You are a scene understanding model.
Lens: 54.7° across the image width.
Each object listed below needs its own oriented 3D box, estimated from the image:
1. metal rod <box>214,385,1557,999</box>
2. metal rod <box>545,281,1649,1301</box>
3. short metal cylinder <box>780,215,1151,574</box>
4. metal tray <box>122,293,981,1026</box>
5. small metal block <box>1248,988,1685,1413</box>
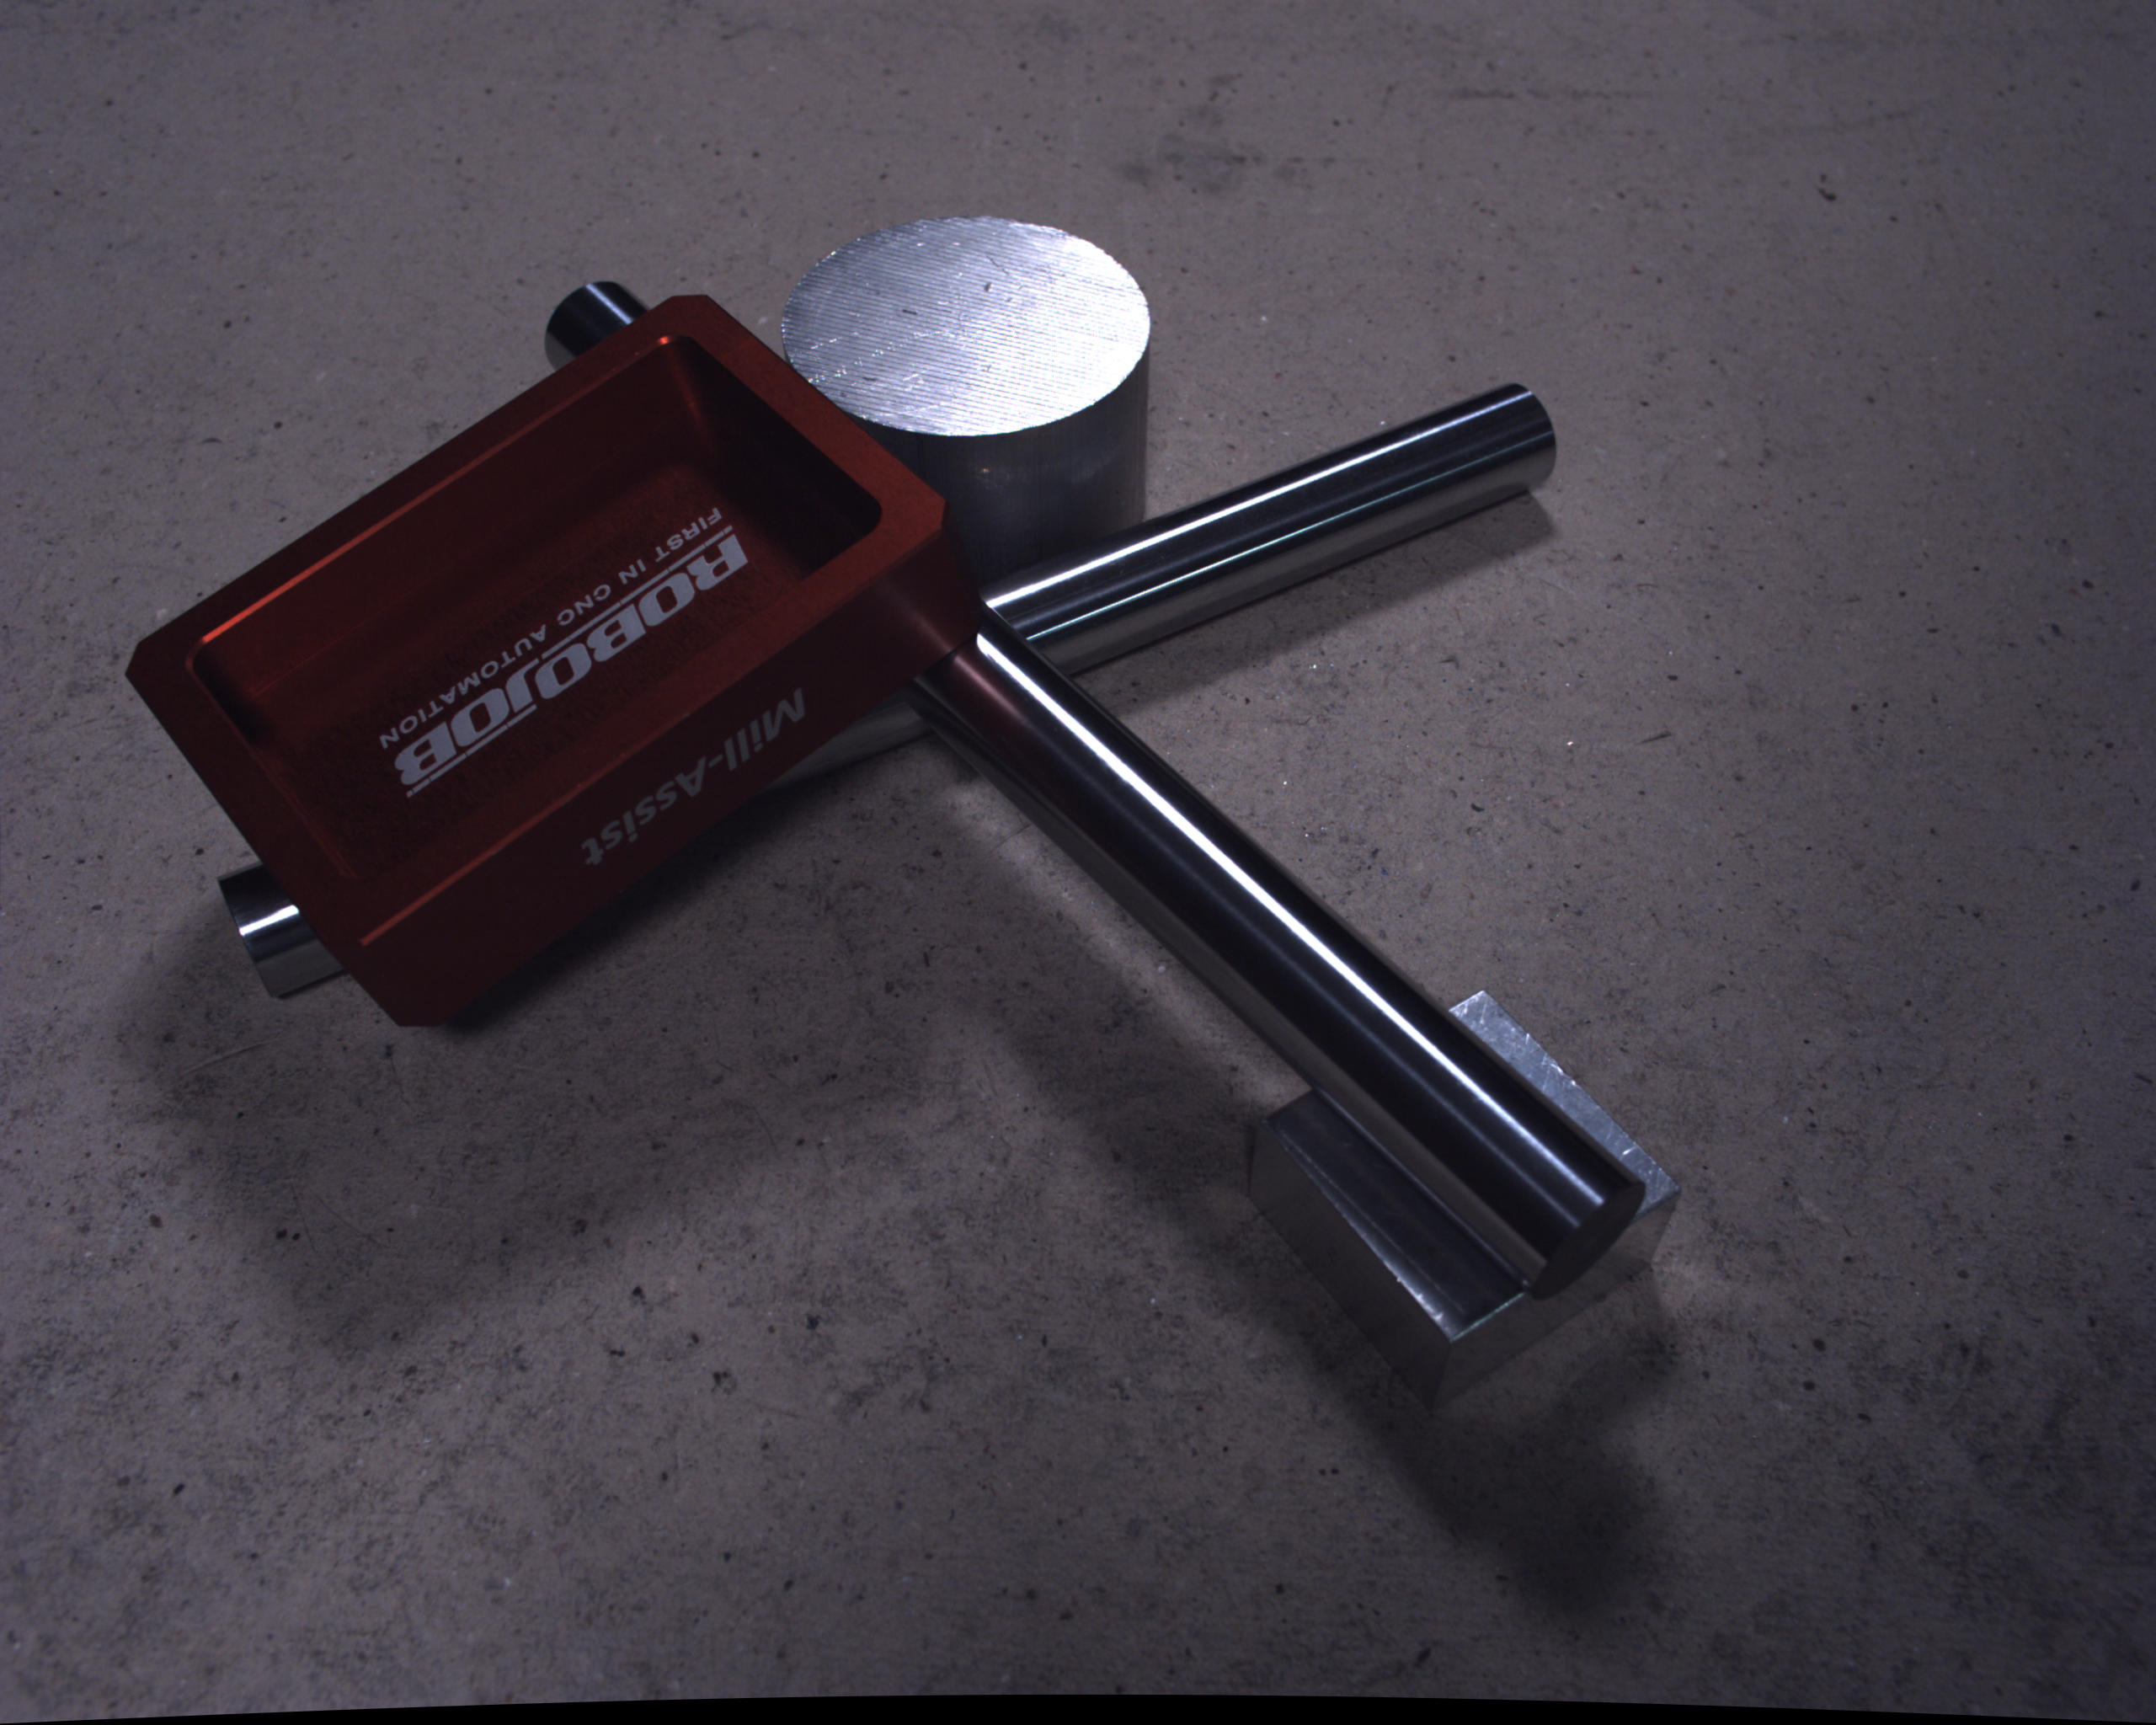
[{"bbox_3d":[-0.026,-0.043,0.441,0.302,0.025,0.025,-24,54,-19],"label":"metal rod"},{"bbox_3d":[-0.015,-0.031,0.398,0.025,0.025,0.300,-32,57,-24],"label":"metal rod"},{"bbox_3d":[-0.024,-0.103,0.474,0.081,0.050,0.080,0,50,0],"label":"short metal cylinder"},{"bbox_3d":[-0.096,-0.042,0.385,0.131,0.030,0.090,-38,59,-14],"label":"metal tray"},{"bbox_3d":[0.065,0.057,0.358,0.050,0.025,0.050,-27,55,-21],"label":"small metal block"}]
